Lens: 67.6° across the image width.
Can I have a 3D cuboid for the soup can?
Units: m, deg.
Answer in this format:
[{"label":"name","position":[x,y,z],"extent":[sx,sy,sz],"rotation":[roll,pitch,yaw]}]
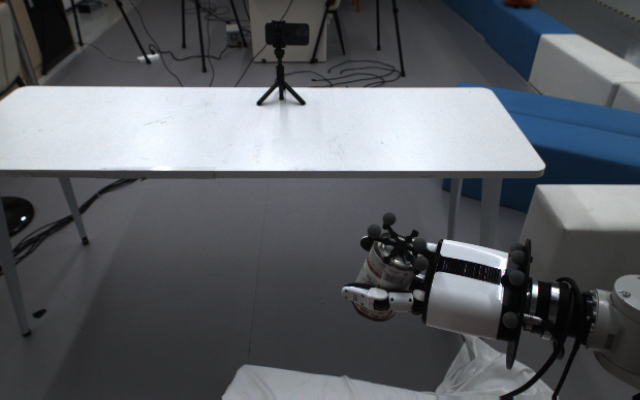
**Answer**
[{"label":"soup can","position":[0.088,0.101,0.637],"extent":[0.067,0.101,0.067],"rotation":[13,35,-9]}]
